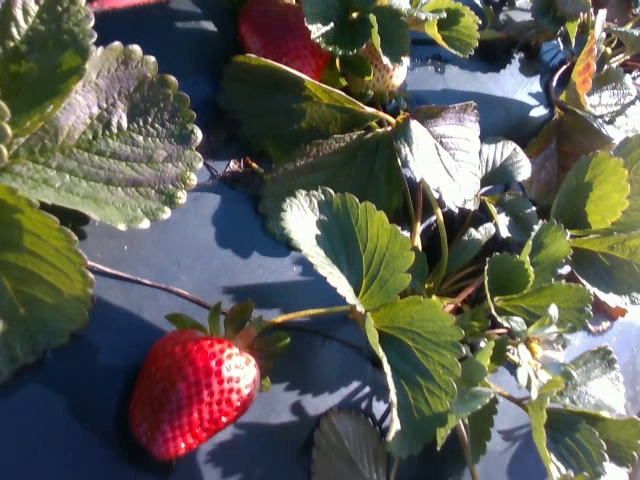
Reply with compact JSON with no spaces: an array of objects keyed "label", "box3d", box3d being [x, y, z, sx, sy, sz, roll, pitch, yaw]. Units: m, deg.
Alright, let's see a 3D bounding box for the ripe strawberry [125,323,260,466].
[{"label":"ripe strawberry","box3d":[-0.041,0.051,0.197,0.044,0.042,0.056,-1,38,28]}]
